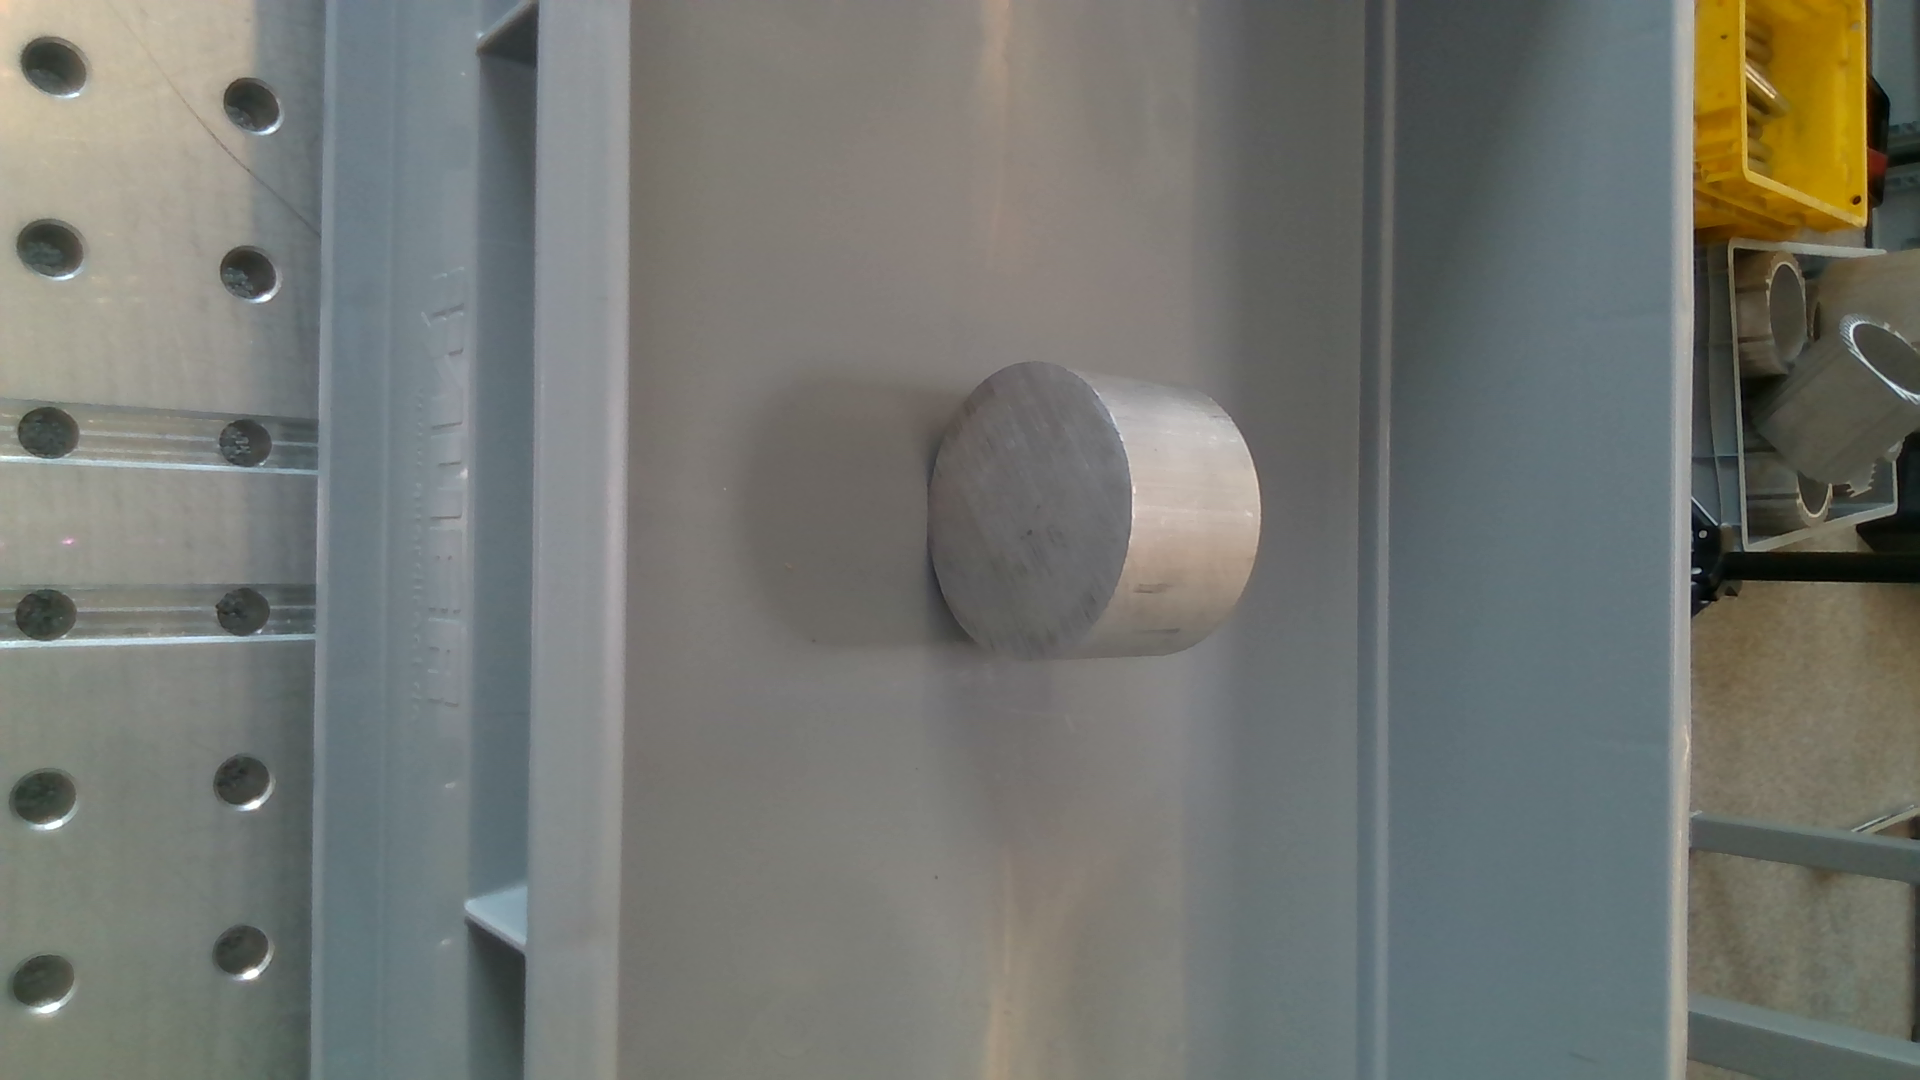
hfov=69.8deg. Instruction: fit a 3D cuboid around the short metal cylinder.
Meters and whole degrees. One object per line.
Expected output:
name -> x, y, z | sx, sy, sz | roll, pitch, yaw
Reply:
short metal cylinder -> 0.036, -0.008, 0.382 | 0.050, 0.080, 0.080 | 2, 89, -40
